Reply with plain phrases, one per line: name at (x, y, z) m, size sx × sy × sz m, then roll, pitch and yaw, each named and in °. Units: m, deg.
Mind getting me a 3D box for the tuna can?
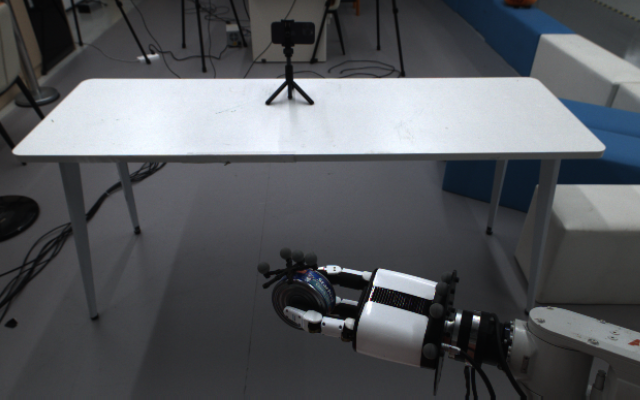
tuna can at (-0.019, 0.144, 0.668) m, size 0.085 × 0.085 × 0.034 m, roll 15°, pitch 30°, yaw 18°
